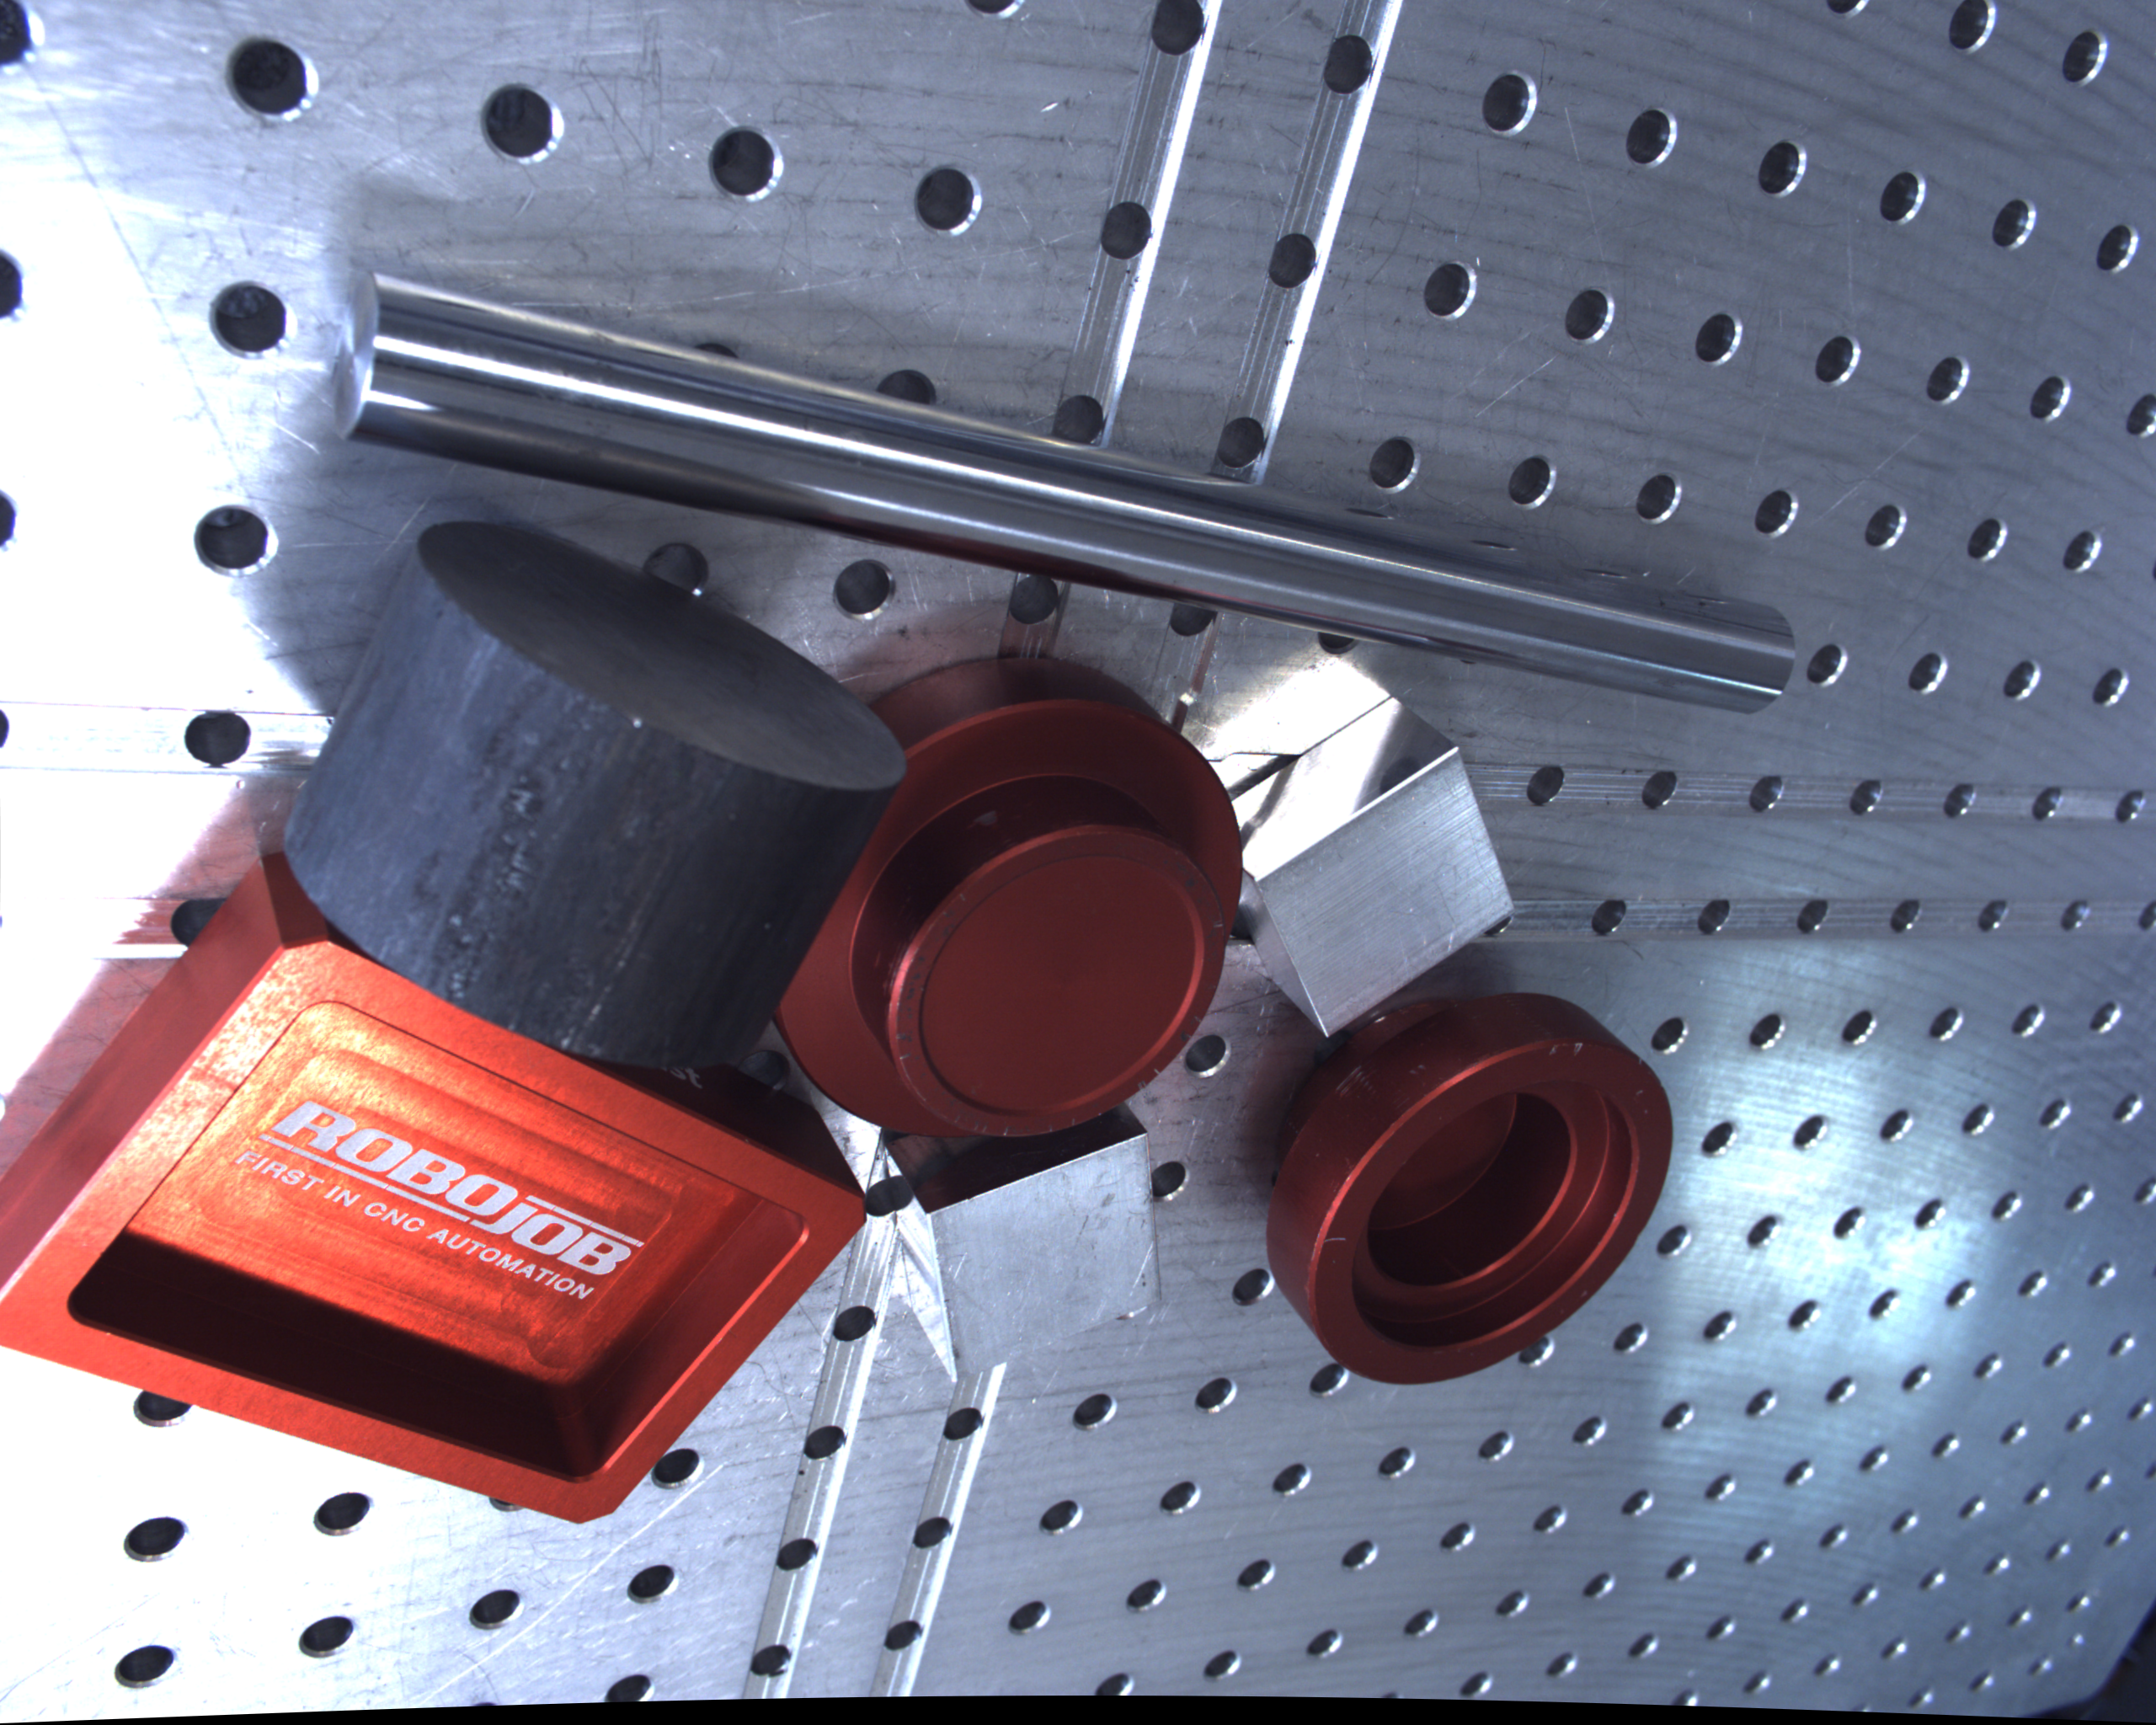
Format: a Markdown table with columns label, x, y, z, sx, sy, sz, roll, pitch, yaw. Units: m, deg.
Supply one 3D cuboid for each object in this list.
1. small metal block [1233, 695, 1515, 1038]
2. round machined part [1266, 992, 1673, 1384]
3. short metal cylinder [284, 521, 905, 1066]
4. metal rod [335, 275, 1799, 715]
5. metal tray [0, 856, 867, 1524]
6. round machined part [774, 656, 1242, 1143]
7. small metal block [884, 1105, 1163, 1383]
| label | x | y | z | sx | sy | sz | roll | pitch | yaw |
| --- | --- | --- | --- | --- | --- | --- | --- | --- | --- |
| small metal block | 0.060 | 0.001 | 0.445 | 0.050 | 0.025 | 0.050 | -33 | 129 | -7 |
| round machined part | 0.087 | 0.071 | 0.492 | 0.099 | 0.042 | 0.097 | -14 | 124 | -21 |
| short metal cylinder | -0.075 | -0.012 | 0.327 | 0.080 | 0.080 | 0.050 | 19 | 108 | -36 |
| metal rod | 0.022 | -0.060 | 0.385 | 0.302 | 0.025 | 0.025 | 6 | 115 | -31 |
| metal tray | -0.115 | 0.065 | 0.384 | 0.090 | 0.030 | 0.130 | -49 | 129 | 7 |
| round machined part | -0.011 | 0.013 | 0.401 | 0.099 | 0.042 | 0.097 | -13 | 121 | -22 |
| small metal block | -0.011 | 0.078 | 0.454 | 0.050 | 0.025 | 0.050 | -18 | 126 | -18 |
